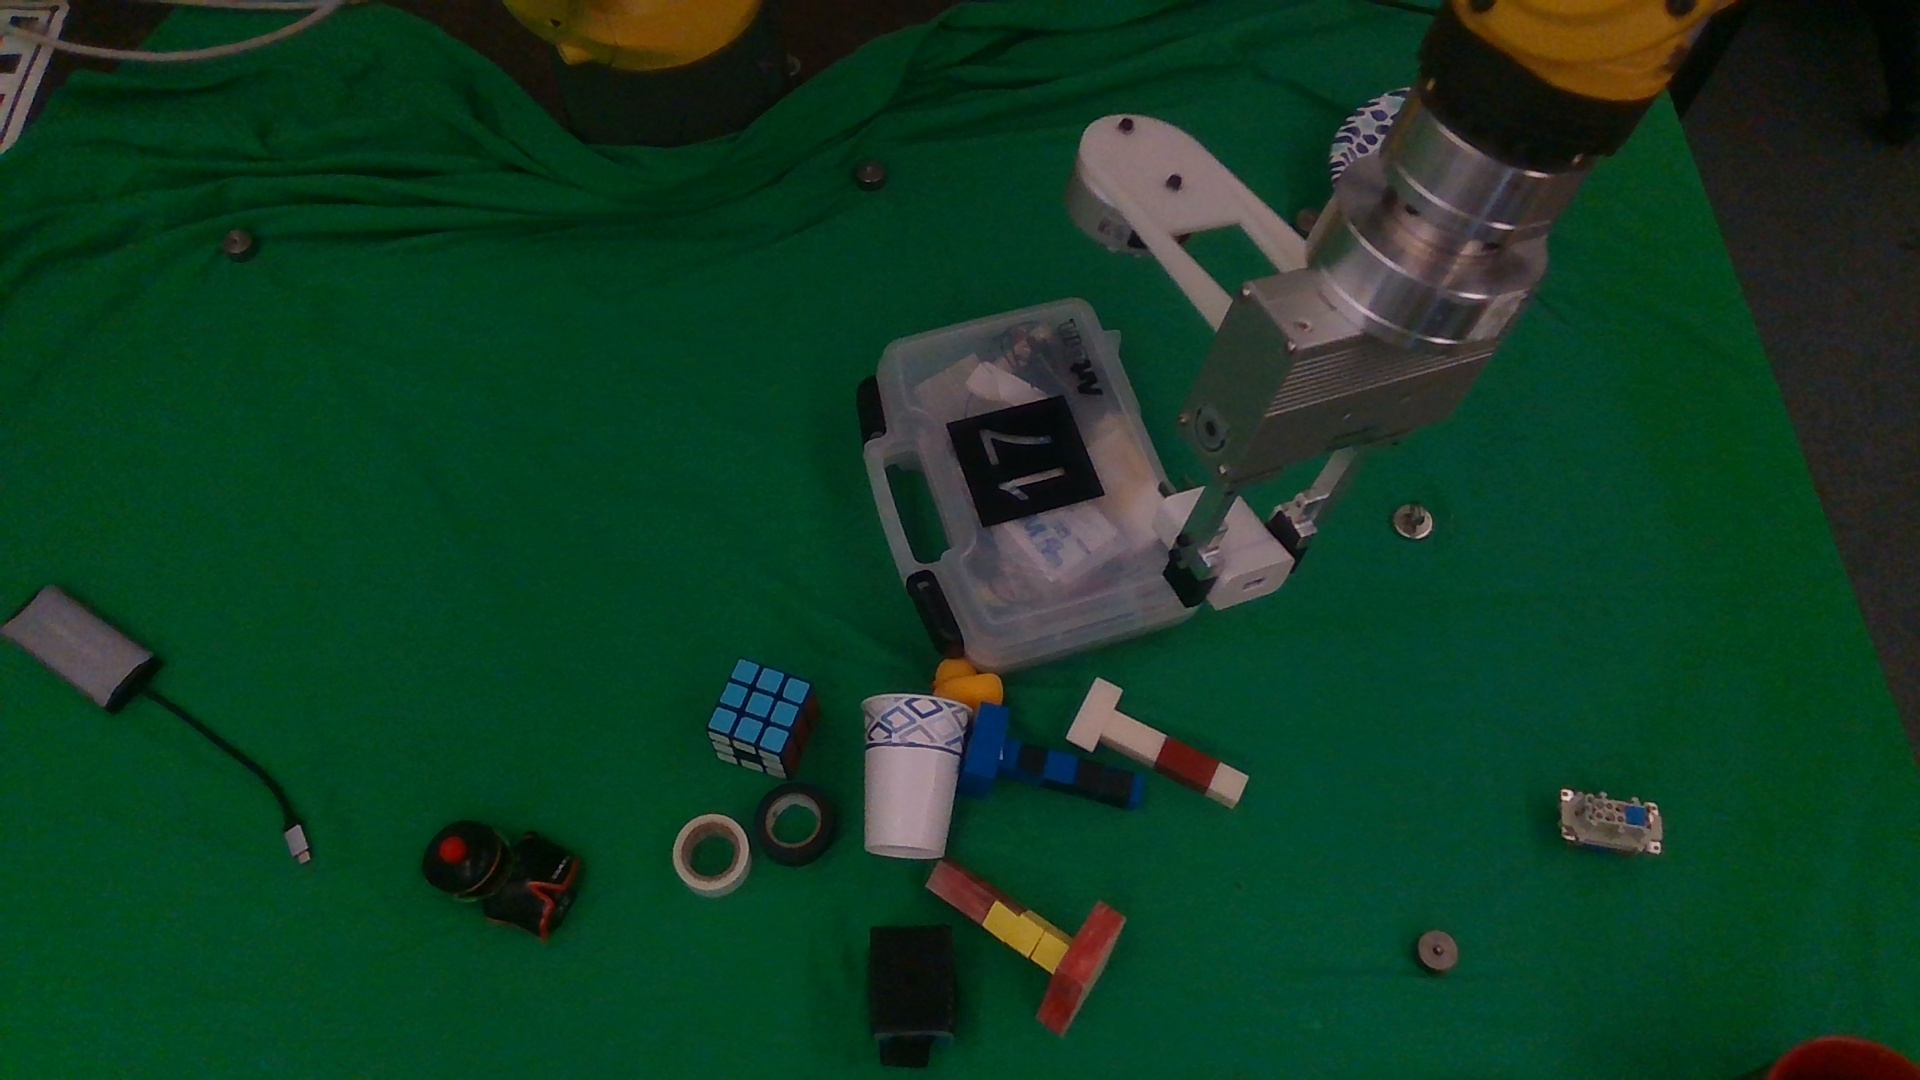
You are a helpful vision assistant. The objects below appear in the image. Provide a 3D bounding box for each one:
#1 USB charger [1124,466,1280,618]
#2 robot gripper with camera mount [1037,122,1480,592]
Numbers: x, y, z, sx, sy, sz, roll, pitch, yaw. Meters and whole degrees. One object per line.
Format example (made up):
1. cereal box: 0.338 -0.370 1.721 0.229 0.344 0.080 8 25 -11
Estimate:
1. USB charger: 0.107 -0.004 0.640 0.044 0.029 0.076 -36 69 -24
2. robot gripper with camera mount: 0.090 -0.092 0.610 0.118 0.159 0.194 -20 58 -22
